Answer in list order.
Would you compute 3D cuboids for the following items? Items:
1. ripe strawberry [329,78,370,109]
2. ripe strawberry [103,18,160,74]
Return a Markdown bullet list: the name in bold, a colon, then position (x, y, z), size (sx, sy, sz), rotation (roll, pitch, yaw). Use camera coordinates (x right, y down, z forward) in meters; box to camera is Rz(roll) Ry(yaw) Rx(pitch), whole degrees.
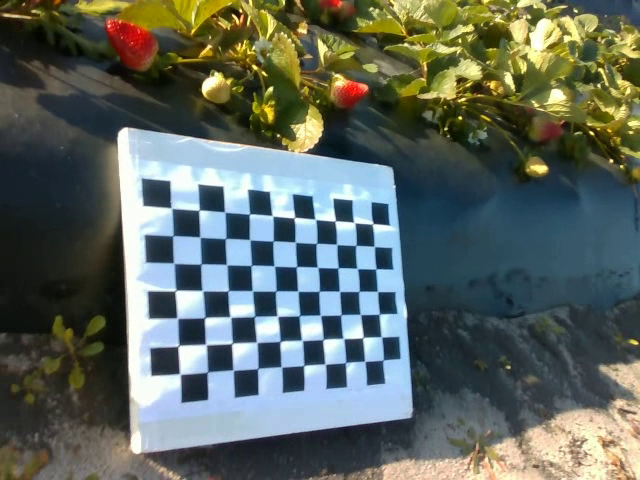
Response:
- **ripe strawberry**: position (0.028, -0.145, 0.629), size (0.045, 0.037, 0.042), rotation (-17, 2, 26)
- **ripe strawberry**: position (-0.150, -0.160, 0.522), size (0.053, 0.044, 0.036), rotation (36, -26, -33)
